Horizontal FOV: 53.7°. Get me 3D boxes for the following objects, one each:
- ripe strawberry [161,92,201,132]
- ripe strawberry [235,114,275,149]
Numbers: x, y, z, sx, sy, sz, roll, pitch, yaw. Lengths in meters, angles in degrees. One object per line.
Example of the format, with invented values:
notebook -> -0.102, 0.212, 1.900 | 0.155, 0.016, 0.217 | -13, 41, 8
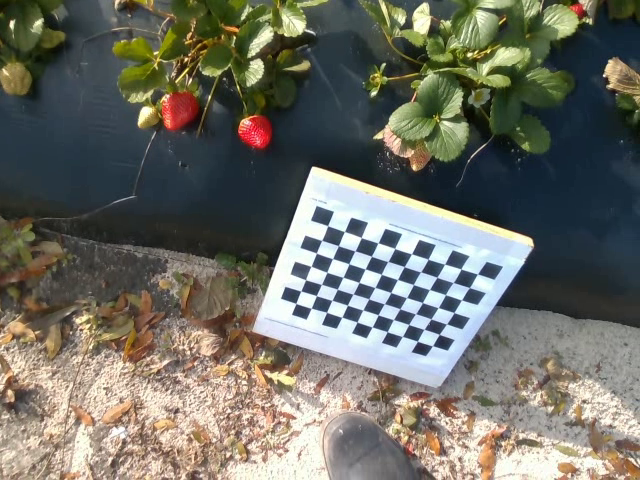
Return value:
ripe strawberry -> -0.123, -0.110, 0.538 | 0.035, 0.036, 0.041 | 8, -32, 7
ripe strawberry -> -0.056, -0.092, 0.545 | 0.033, 0.039, 0.038 | 14, -43, -25
